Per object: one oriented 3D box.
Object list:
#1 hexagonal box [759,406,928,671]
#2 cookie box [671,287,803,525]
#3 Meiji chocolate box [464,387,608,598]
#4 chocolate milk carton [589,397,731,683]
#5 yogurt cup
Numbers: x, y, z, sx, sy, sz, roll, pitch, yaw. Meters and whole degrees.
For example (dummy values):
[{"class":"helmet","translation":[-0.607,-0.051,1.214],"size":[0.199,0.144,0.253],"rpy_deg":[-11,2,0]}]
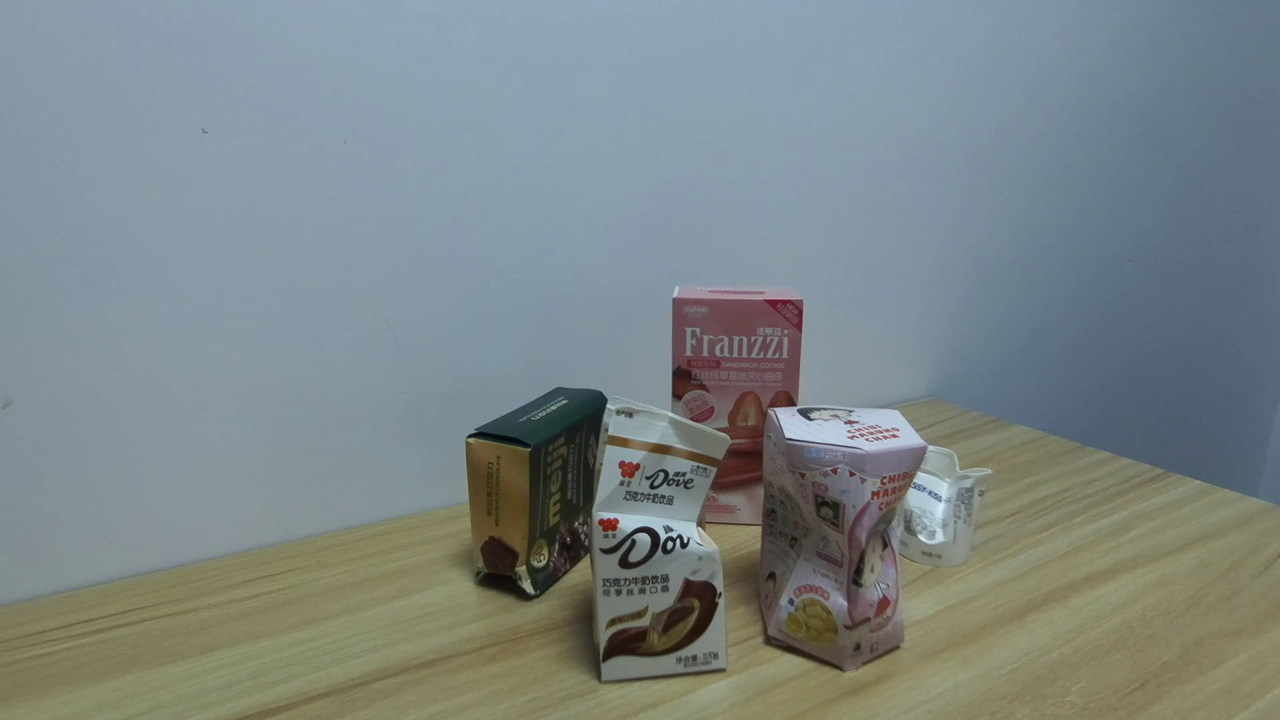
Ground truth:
[{"class":"hexagonal box","translation":[0.113,0.100,0.415],"size":[0.093,0.134,0.089],"rpy_deg":[8,17,24]},{"class":"cookie box","translation":[0.072,0.038,0.554],"size":[0.096,0.184,0.048],"rpy_deg":[2,16,5]},{"class":"Meiji chocolate box","translation":[-0.068,0.088,0.506],"size":[0.058,0.116,0.123],"rpy_deg":[8,17,26]},{"class":"chocolate milk carton","translation":[0.009,0.093,0.399],"size":[0.076,0.155,0.073],"rpy_deg":[-1,19,-7]},{"class":"yogurt cup","translation":[0.217,0.106,0.515],"size":[0.055,0.072,0.054],"rpy_deg":[-4,18,-25]}]
